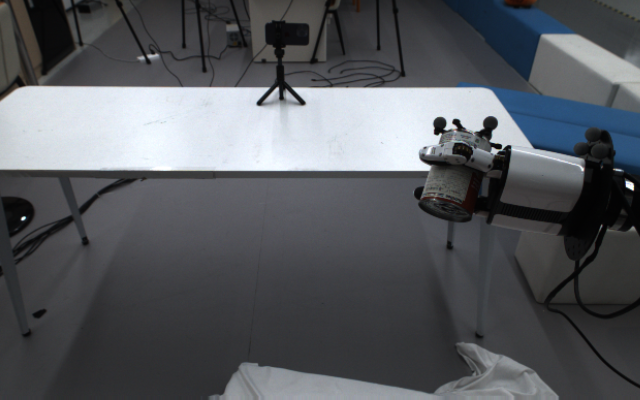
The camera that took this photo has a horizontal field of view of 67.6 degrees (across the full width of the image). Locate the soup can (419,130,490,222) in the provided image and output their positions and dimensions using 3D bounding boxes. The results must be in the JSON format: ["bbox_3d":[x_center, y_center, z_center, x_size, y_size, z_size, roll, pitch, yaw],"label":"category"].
[{"bbox_3d":[0.172,-0.034,0.620,0.067,0.067,0.101,16,75,19],"label":"soup can"}]
